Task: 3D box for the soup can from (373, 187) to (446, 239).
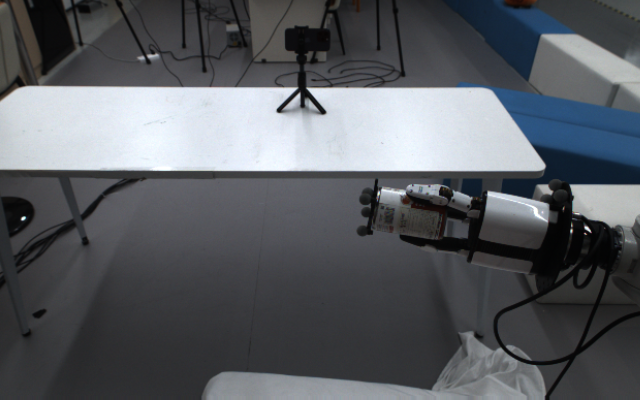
[{"bbox_3d":[0.135,0.020,0.717,0.101,0.067,0.067,9,35,9],"label":"soup can"}]
